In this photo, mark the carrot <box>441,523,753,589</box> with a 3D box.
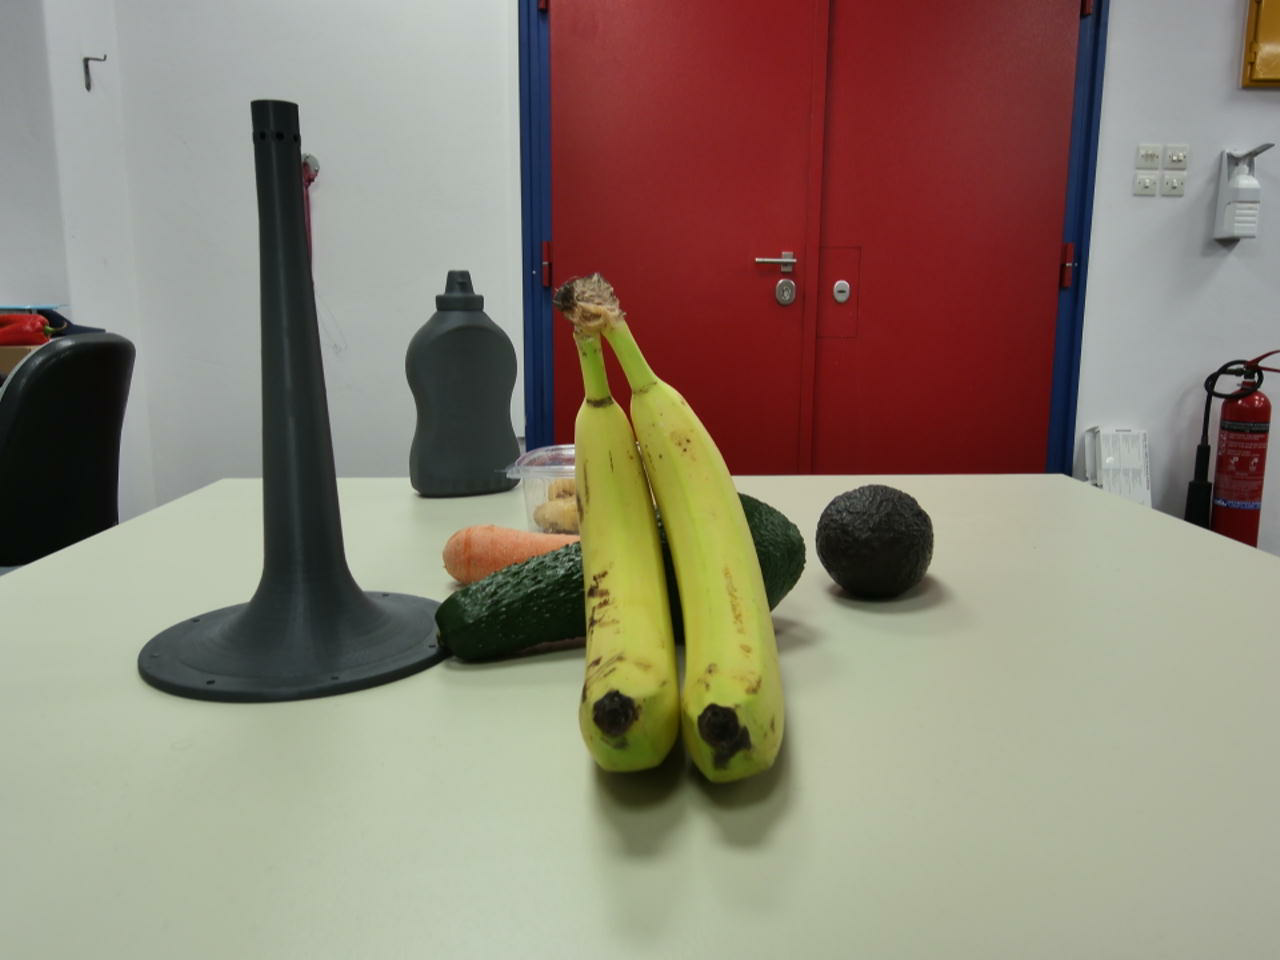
[{"bbox_3d":[-0.026,0.048,0.629,0.196,0.041,0.039,0,8,-1],"label":"carrot"}]
